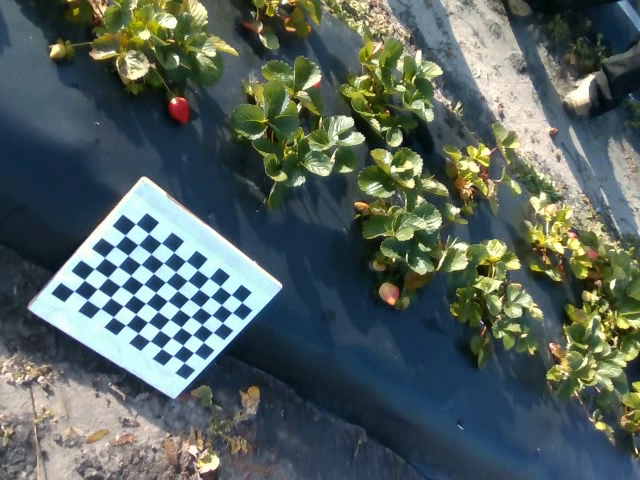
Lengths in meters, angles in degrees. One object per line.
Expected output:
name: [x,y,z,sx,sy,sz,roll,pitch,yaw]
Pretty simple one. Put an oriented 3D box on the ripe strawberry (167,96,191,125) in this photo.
ripe strawberry: [-0.197,-0.182,0.821,0.030,0.045,0.033,-18,-7,-2]
